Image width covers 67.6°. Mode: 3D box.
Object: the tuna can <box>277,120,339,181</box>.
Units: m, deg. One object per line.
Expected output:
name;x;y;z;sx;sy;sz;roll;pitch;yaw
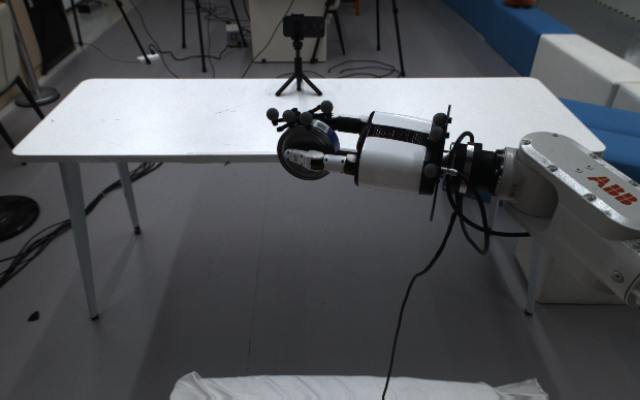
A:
tuna can;-0.014;-0.069;0.688;0.085;0.085;0.034;10;33;11
